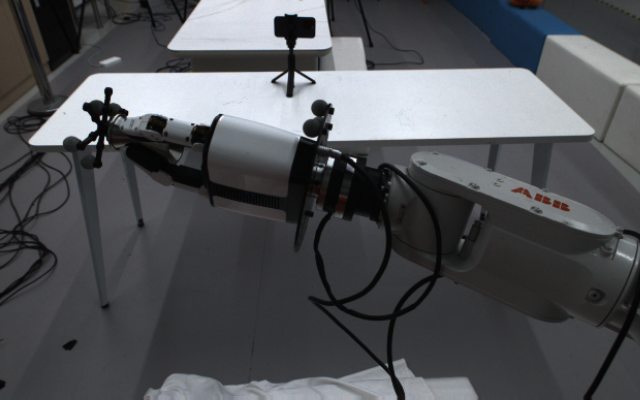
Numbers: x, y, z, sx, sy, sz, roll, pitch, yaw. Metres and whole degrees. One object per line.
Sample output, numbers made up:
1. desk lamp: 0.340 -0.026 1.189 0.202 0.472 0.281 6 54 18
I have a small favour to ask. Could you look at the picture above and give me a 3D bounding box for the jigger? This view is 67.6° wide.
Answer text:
1. jigger: -0.180 -0.069 0.523 0.071 0.043 0.043 13 36 4
